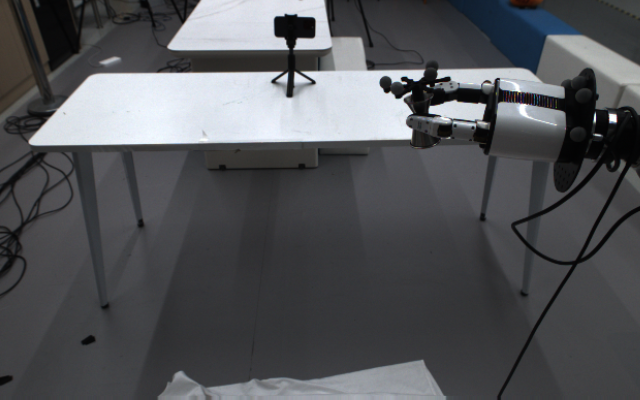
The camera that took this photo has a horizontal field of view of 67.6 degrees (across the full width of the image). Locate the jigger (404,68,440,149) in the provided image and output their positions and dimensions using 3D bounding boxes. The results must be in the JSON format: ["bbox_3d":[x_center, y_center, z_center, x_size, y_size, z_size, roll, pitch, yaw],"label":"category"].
[{"bbox_3d":[0.141,-0.111,0.671,0.043,0.071,0.043,-12,29,7],"label":"jigger"}]
